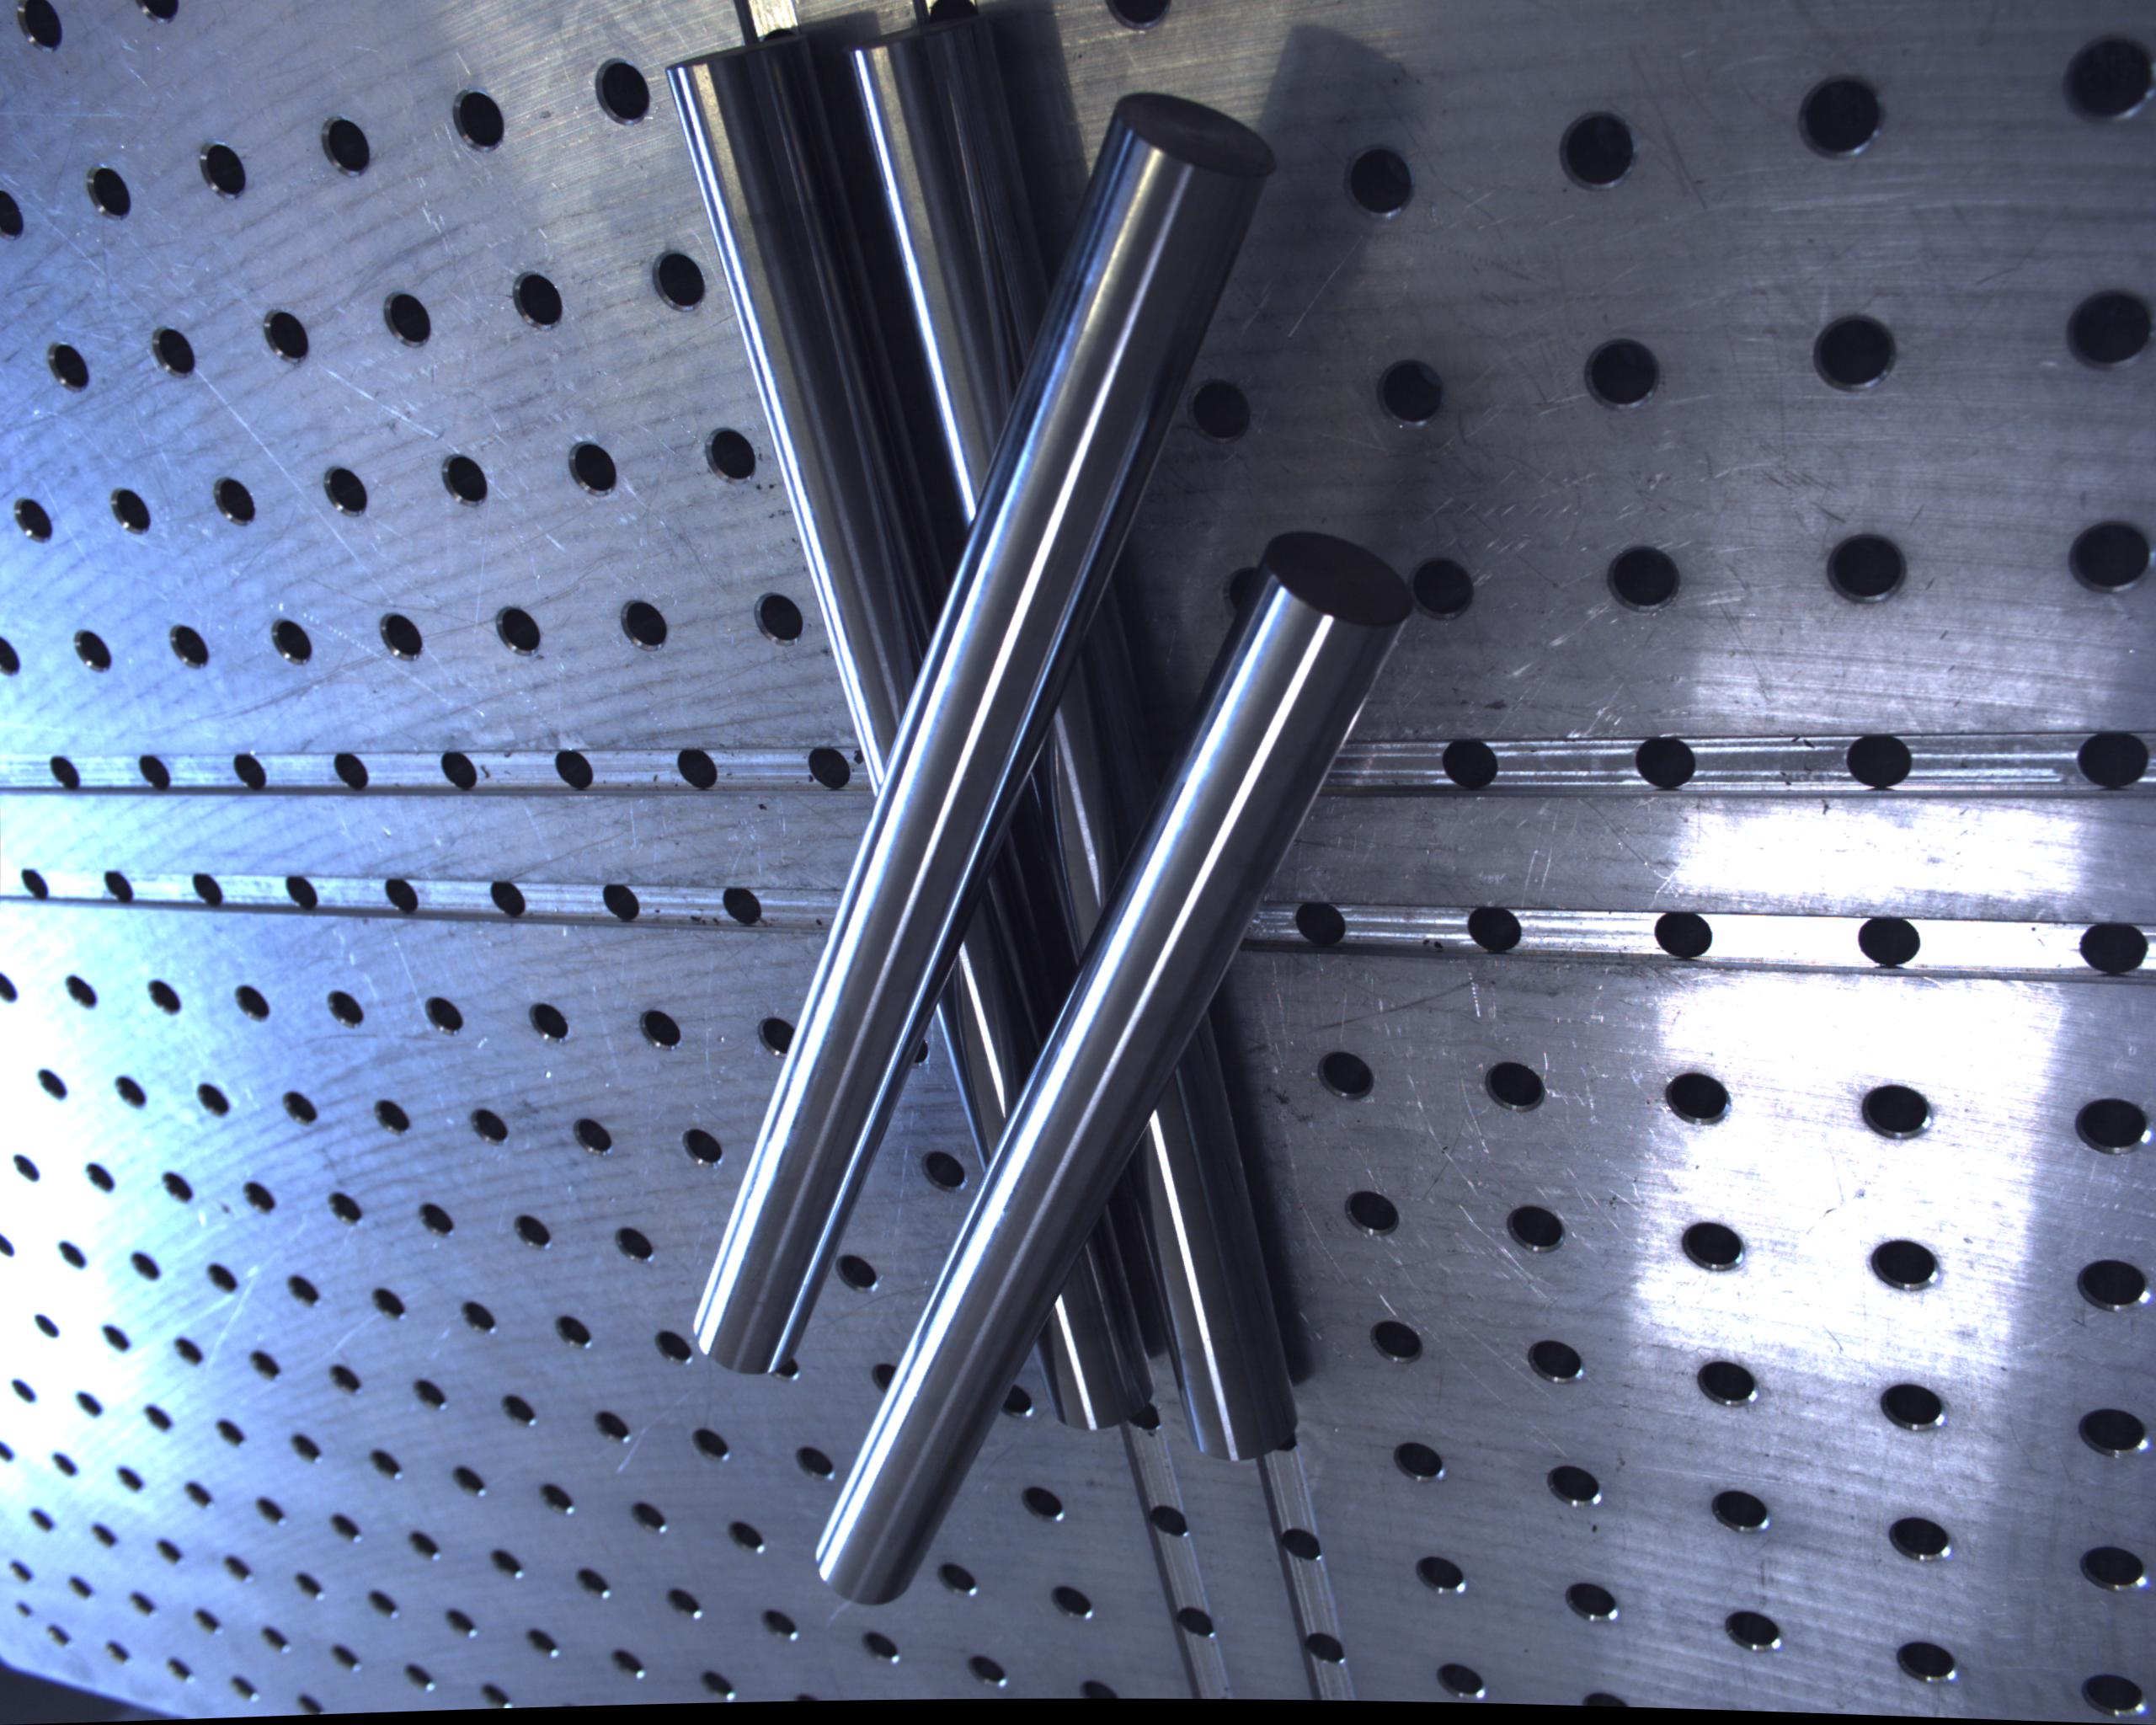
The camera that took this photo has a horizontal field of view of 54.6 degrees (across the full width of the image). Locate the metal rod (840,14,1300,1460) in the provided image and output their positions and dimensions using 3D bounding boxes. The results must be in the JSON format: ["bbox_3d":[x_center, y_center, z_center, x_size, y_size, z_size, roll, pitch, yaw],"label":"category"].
[{"bbox_3d":[0.005,-0.005,0.406,0.025,0.025,0.298,1,119,28],"label":"metal rod"}]

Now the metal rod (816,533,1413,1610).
[{"bbox_3d":[-0.005,0.063,0.421,0.025,0.025,0.298,30,128,9],"label":"metal rod"}]

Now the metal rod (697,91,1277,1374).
[{"bbox_3d":[-0.030,0.001,0.397,0.025,0.025,0.298,30,128,9],"label":"metal rod"}]

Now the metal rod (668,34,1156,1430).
[{"bbox_3d":[-0.026,-0.008,0.421,0.025,0.025,0.298,1,119,28],"label":"metal rod"}]
